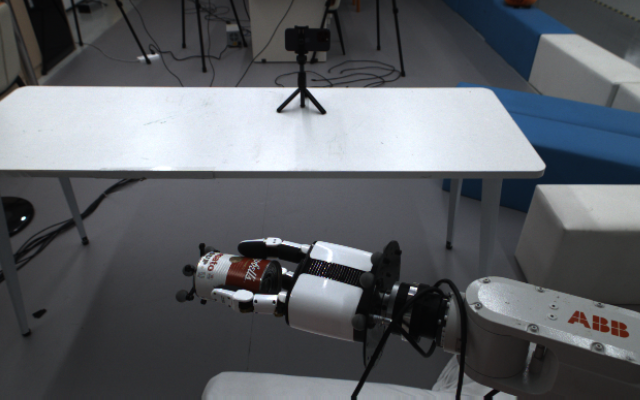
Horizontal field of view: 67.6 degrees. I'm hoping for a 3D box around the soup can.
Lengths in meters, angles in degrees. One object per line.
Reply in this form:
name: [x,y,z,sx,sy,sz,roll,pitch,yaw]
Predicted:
soup can: [-0.108,0.110,0.653,0.101,0.067,0.067,5,34,18]
